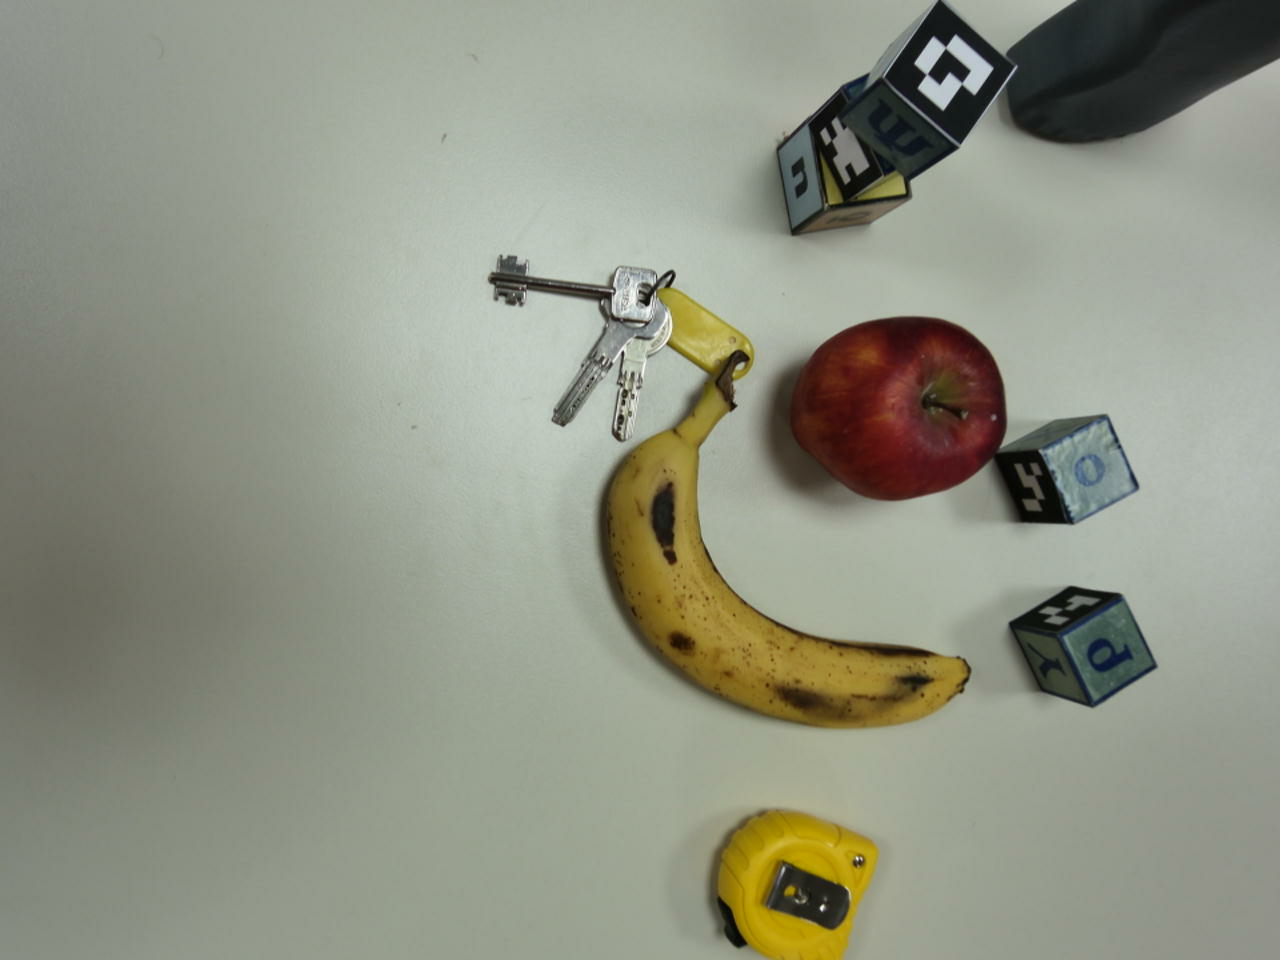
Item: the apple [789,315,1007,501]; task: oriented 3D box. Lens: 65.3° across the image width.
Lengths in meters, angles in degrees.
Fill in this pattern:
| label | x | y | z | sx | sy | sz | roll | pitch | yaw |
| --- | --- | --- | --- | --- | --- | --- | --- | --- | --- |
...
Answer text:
| label | x | y | z | sx | sy | sz | roll | pitch | yaw |
| --- | --- | --- | --- | --- | --- | --- | --- | --- | --- |
| apple | 0.108 | -0.030 | 0.413 | 0.083 | 0.090 | 0.083 | 0 | 90 | -11 |
